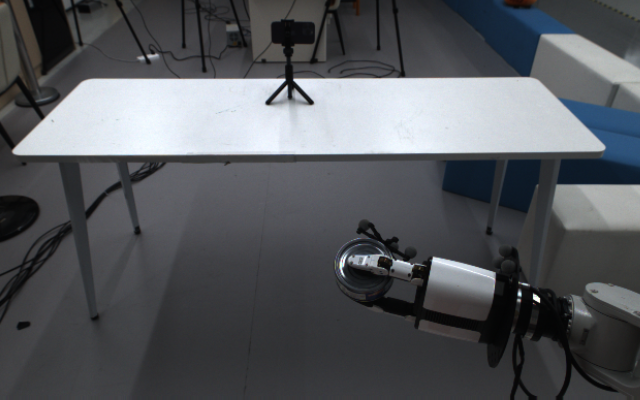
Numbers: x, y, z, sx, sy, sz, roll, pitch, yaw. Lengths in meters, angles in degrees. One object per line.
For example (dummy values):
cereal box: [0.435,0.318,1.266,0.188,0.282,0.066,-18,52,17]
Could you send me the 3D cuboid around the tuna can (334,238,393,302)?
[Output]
tuna can: [0.066,0.103,0.678,0.085,0.034,0.085,-4,58,6]
